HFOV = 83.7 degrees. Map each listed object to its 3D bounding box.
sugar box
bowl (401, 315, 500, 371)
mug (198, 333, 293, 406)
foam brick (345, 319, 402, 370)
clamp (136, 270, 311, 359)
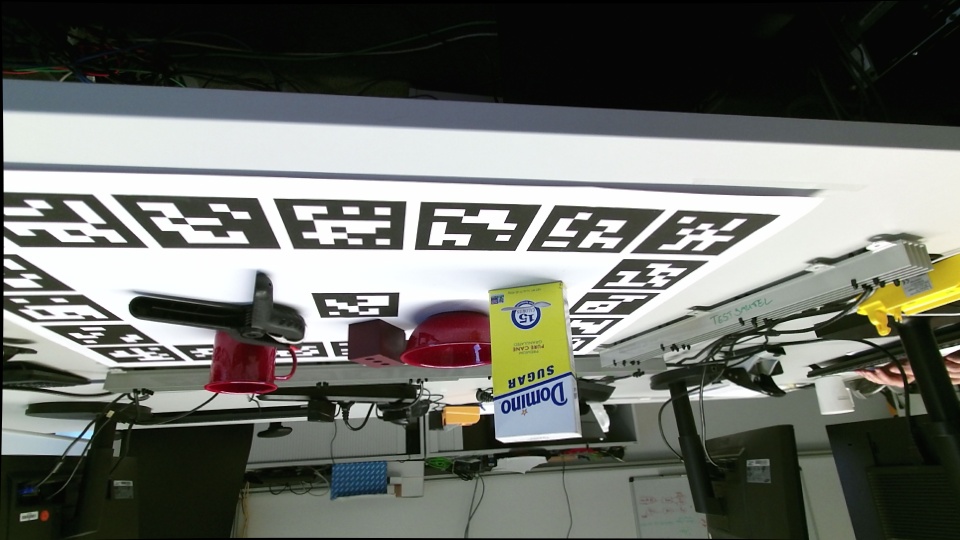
[{"bbox_3d":[0.069,0.099,0.625,0.093,0.175,0.045,-10,152,13],"label":"sugar box"},{"bbox_3d":[-0.029,0.105,0.756,0.162,0.055,0.162,-3,154,-1],"label":"bowl"},{"bbox_3d":[-0.320,0.139,0.746,0.118,0.081,0.093,17,147,-31],"label":"mug"},{"bbox_3d":[-0.150,0.109,0.763,0.053,0.051,0.078,-13,152,14],"label":"foam brick"},{"bbox_3d":[-0.269,0.066,0.647,0.166,0.036,0.203,-12,152,10],"label":"clamp"}]
